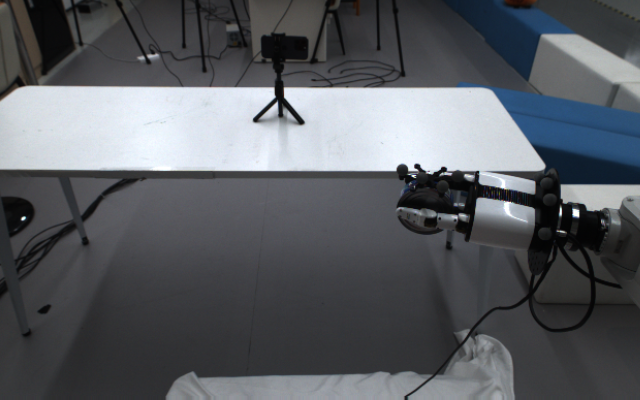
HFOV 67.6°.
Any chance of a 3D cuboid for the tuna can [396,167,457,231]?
[{"bbox_3d":[0.163,0.006,0.742,0.085,0.085,0.034,10,34,11],"label":"tuna can"}]
